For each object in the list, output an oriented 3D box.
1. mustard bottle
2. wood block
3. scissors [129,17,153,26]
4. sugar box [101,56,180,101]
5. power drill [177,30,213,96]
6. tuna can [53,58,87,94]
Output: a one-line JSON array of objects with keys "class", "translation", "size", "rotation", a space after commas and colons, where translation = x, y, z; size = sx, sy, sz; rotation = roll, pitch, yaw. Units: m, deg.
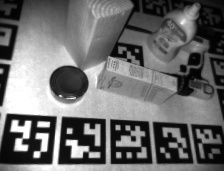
[{"class": "mustard bottle", "translation": [0.178, -0.150, 0.571], "size": [0.059, 0.191, 0.096], "rotation": [-35, 83, -23]}, {"class": "wood block", "translation": [-0.034, -0.144, 0.497], "size": [0.092, 0.205, 0.089], "rotation": [-22, 78, -22]}, {"class": "scissors", "translation": [0.026, -0.197, 0.629], "size": [0.204, 0.016, 0.087], "rotation": [9, 64, -14]}, {"class": "sugar box", "translation": [0.071, -0.019, 0.536], "size": [0.177, 0.092, 0.045], "rotation": [19, 62, -11]}, {"class": "power drill", "translation": [0.207, -0.077, 0.617], "size": [0.185, 0.057, 0.187], "rotation": [20, 73, -9]}, {"class": "tuna can", "translation": [-0.096, -0.023, 0.513], "size": [0.086, 0.033, 0.085], "rotation": [6, 69, -15]}]
